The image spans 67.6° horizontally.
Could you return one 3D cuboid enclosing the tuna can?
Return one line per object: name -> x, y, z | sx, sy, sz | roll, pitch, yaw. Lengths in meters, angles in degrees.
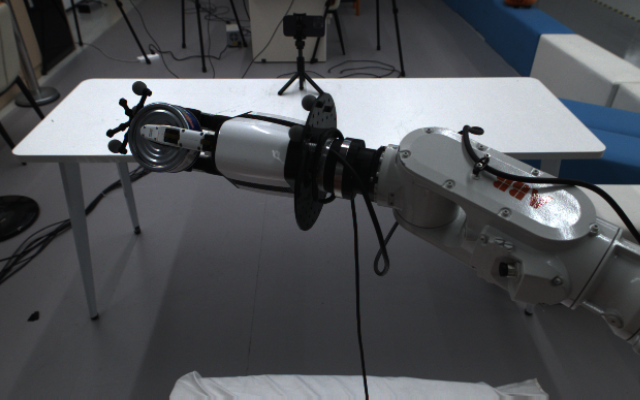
tuna can -> -0.188, -0.072, 0.593 | 0.085, 0.085, 0.034 | 9, 6, 10
